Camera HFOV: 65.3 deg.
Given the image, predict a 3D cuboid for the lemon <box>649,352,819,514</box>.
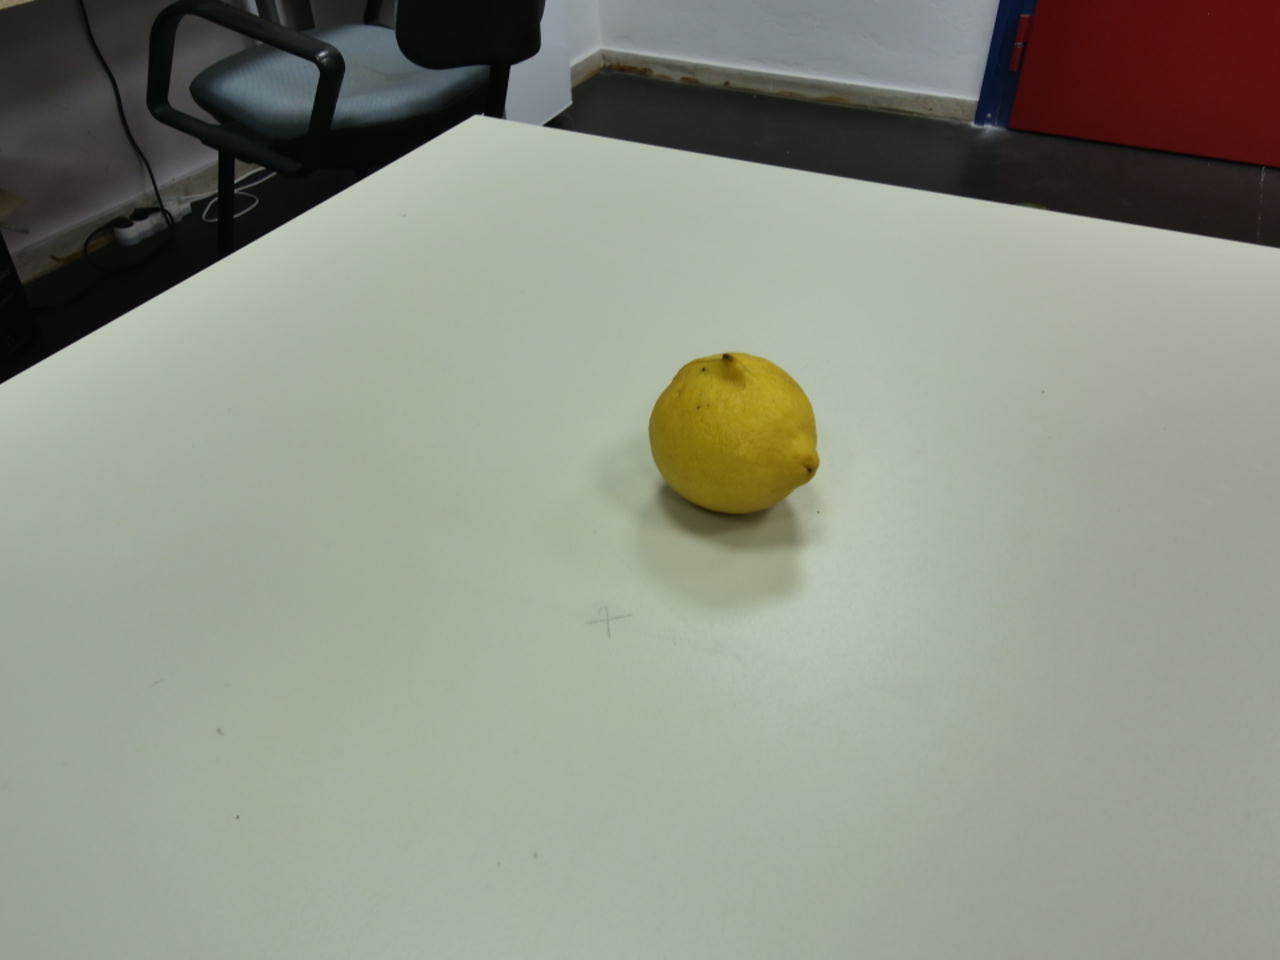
[{"bbox_3d":[0.040,-0.023,0.427,0.070,0.071,0.071,-3,38,-5],"label":"lemon"}]
